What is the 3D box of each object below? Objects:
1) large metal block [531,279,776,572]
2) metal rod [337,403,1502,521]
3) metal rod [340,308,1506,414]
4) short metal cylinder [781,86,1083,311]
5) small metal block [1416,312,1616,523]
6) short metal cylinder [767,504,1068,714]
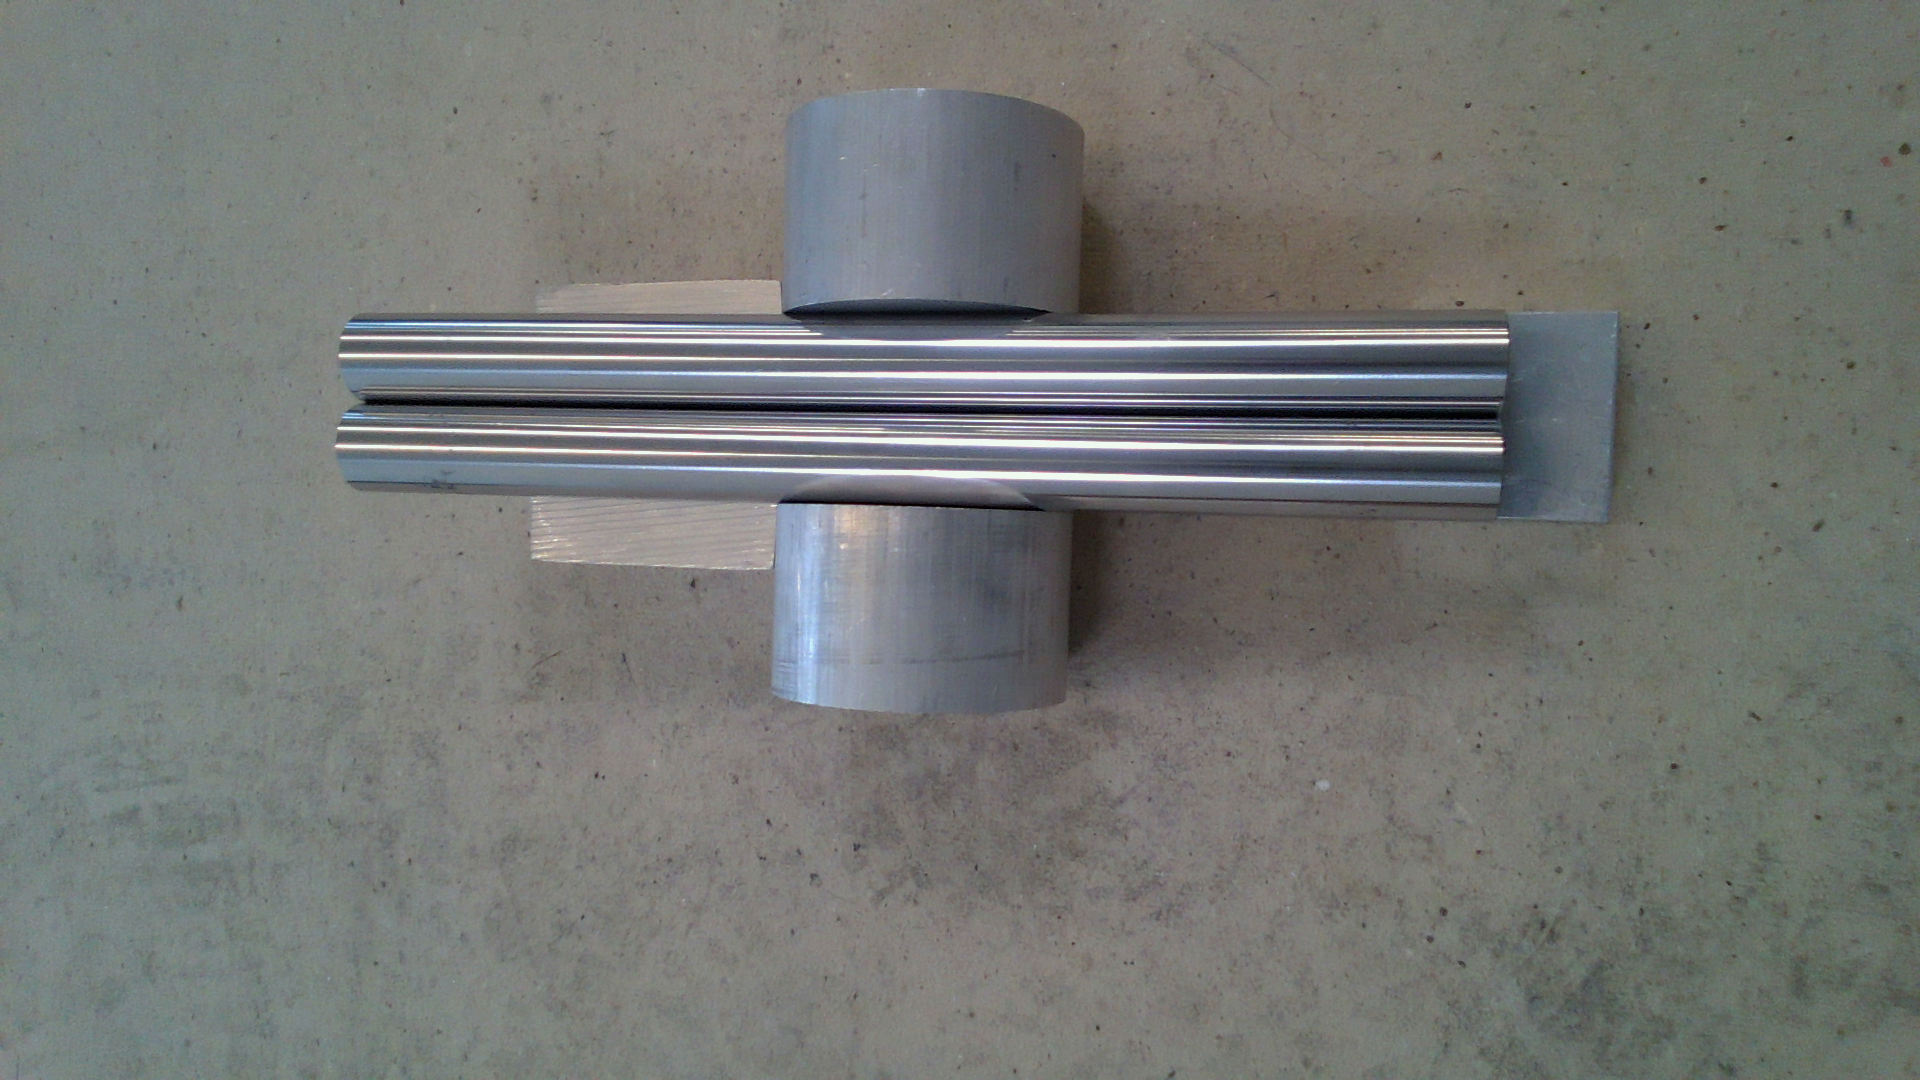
[{"bbox_3d":[-0.078,-0.032,0.411,0.080,0.050,0.080,2,91,20],"label":"large metal block"},{"bbox_3d":[-0.021,-0.022,0.356,0.299,0.025,0.025,2,91,12],"label":"metal rod"},{"bbox_3d":[-0.020,-0.047,0.356,0.299,0.025,0.025,2,91,12],"label":"metal rod"},{"bbox_3d":[-0.008,-0.084,0.369,0.080,0.080,0.050,2,91,20],"label":"short metal cylinder"},{"bbox_3d":[0.136,-0.030,0.347,0.050,0.025,0.050,3,91,20],"label":"small metal block"},{"bbox_3d":[-0.011,0.016,0.371,0.080,0.080,0.050,2,91,20],"label":"short metal cylinder"}]
